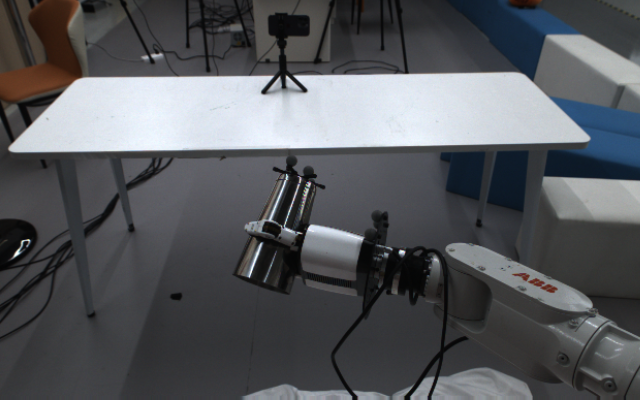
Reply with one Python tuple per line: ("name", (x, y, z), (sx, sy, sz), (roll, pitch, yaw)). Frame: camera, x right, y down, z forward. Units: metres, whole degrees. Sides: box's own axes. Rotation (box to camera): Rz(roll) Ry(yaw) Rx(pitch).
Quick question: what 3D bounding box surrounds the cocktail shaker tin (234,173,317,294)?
("cocktail shaker tin", (-0.064, 0.050, 0.745), (0.093, 0.093, 0.170), (14, 73, 17))
